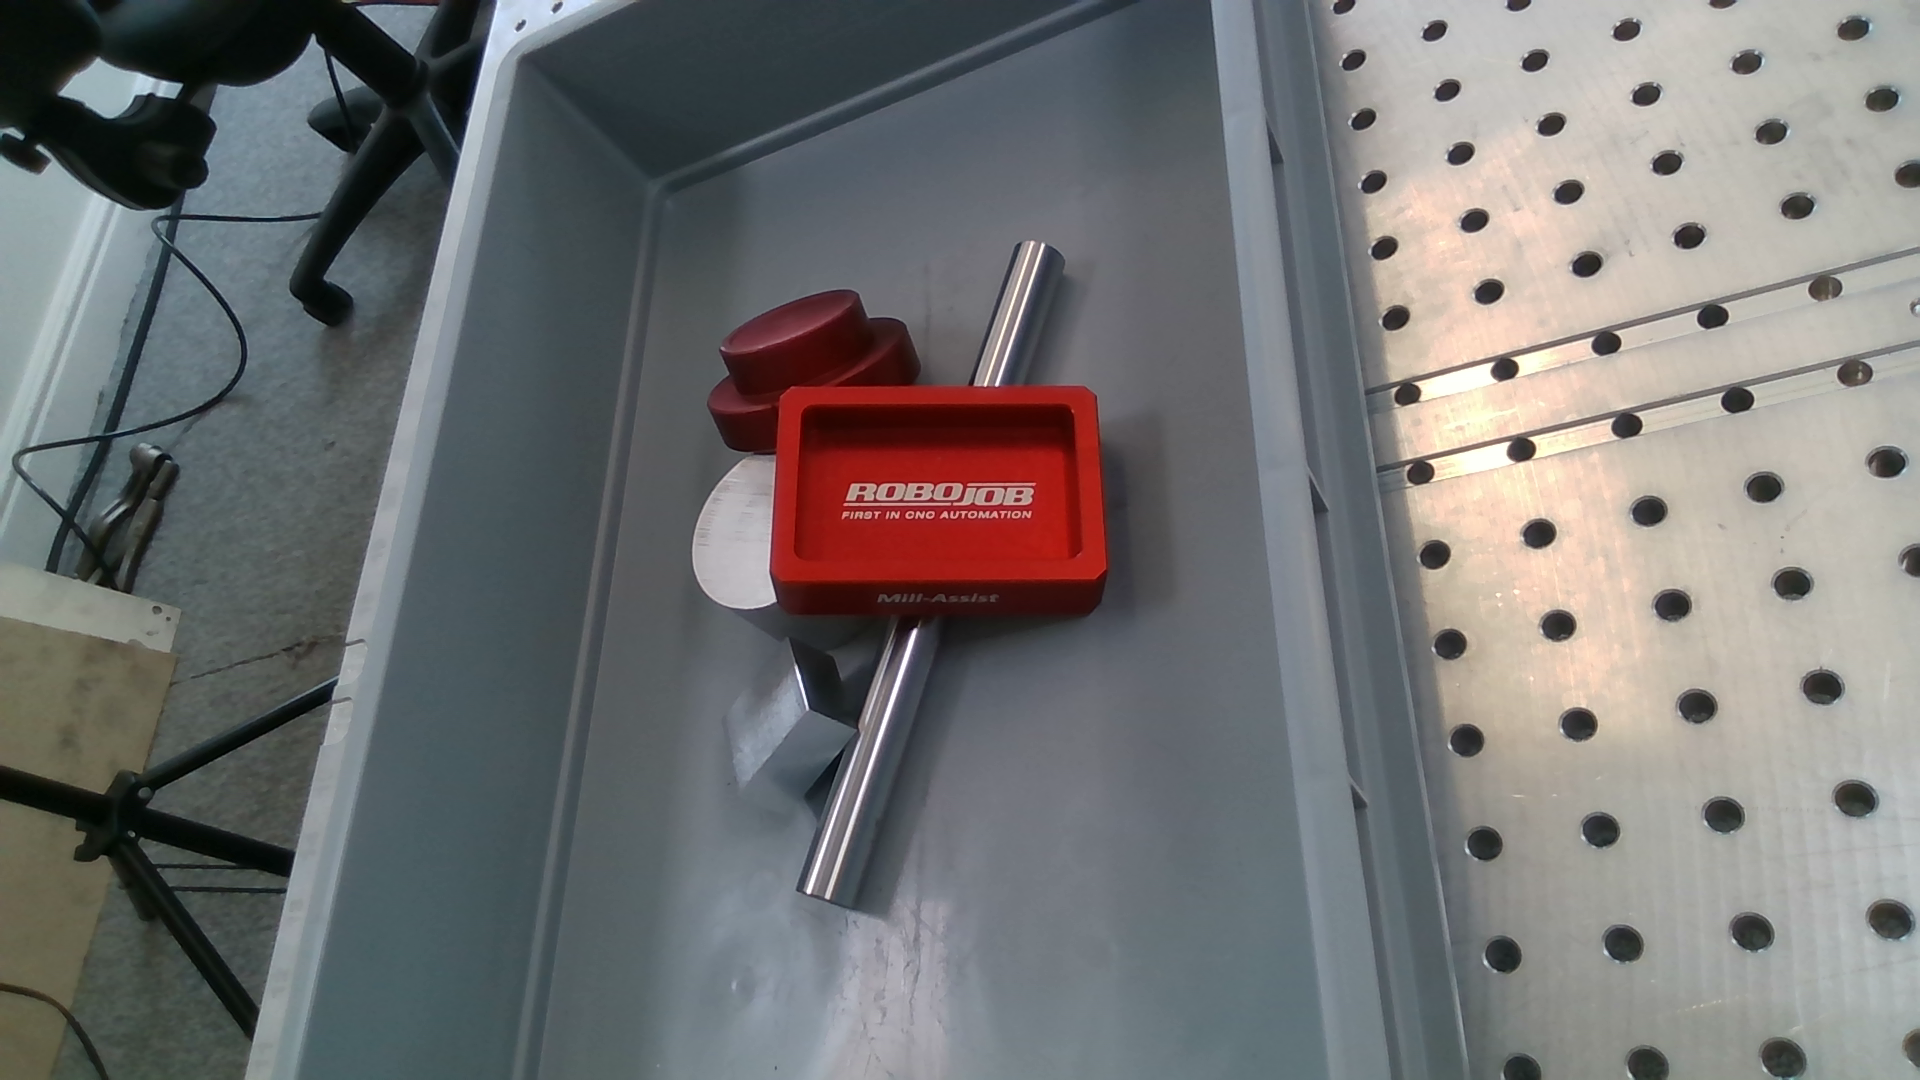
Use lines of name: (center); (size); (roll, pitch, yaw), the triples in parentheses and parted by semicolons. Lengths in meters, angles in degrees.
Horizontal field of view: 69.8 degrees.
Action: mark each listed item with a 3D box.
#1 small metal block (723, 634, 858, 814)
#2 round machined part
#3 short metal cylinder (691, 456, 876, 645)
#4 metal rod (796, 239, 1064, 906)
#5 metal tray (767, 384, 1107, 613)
small metal block: (-0.072, 0.076, 0.574); (0.050, 0.025, 0.050); (-52, 33, 18)
round machined part: (-0.071, -0.082, 0.630); (0.098, 0.042, 0.098); (-17, 26, 9)
short metal cylinder: (-0.071, 0.003, 0.611); (0.080, 0.050, 0.080); (-14, 59, 25)
metal rod: (-0.009, 0.005, 0.587); (0.025, 0.025, 0.299); (6, 69, 34)
metal tray: (-0.009, -0.017, 0.558); (0.130, 0.030, 0.090); (0, 62, -1)
